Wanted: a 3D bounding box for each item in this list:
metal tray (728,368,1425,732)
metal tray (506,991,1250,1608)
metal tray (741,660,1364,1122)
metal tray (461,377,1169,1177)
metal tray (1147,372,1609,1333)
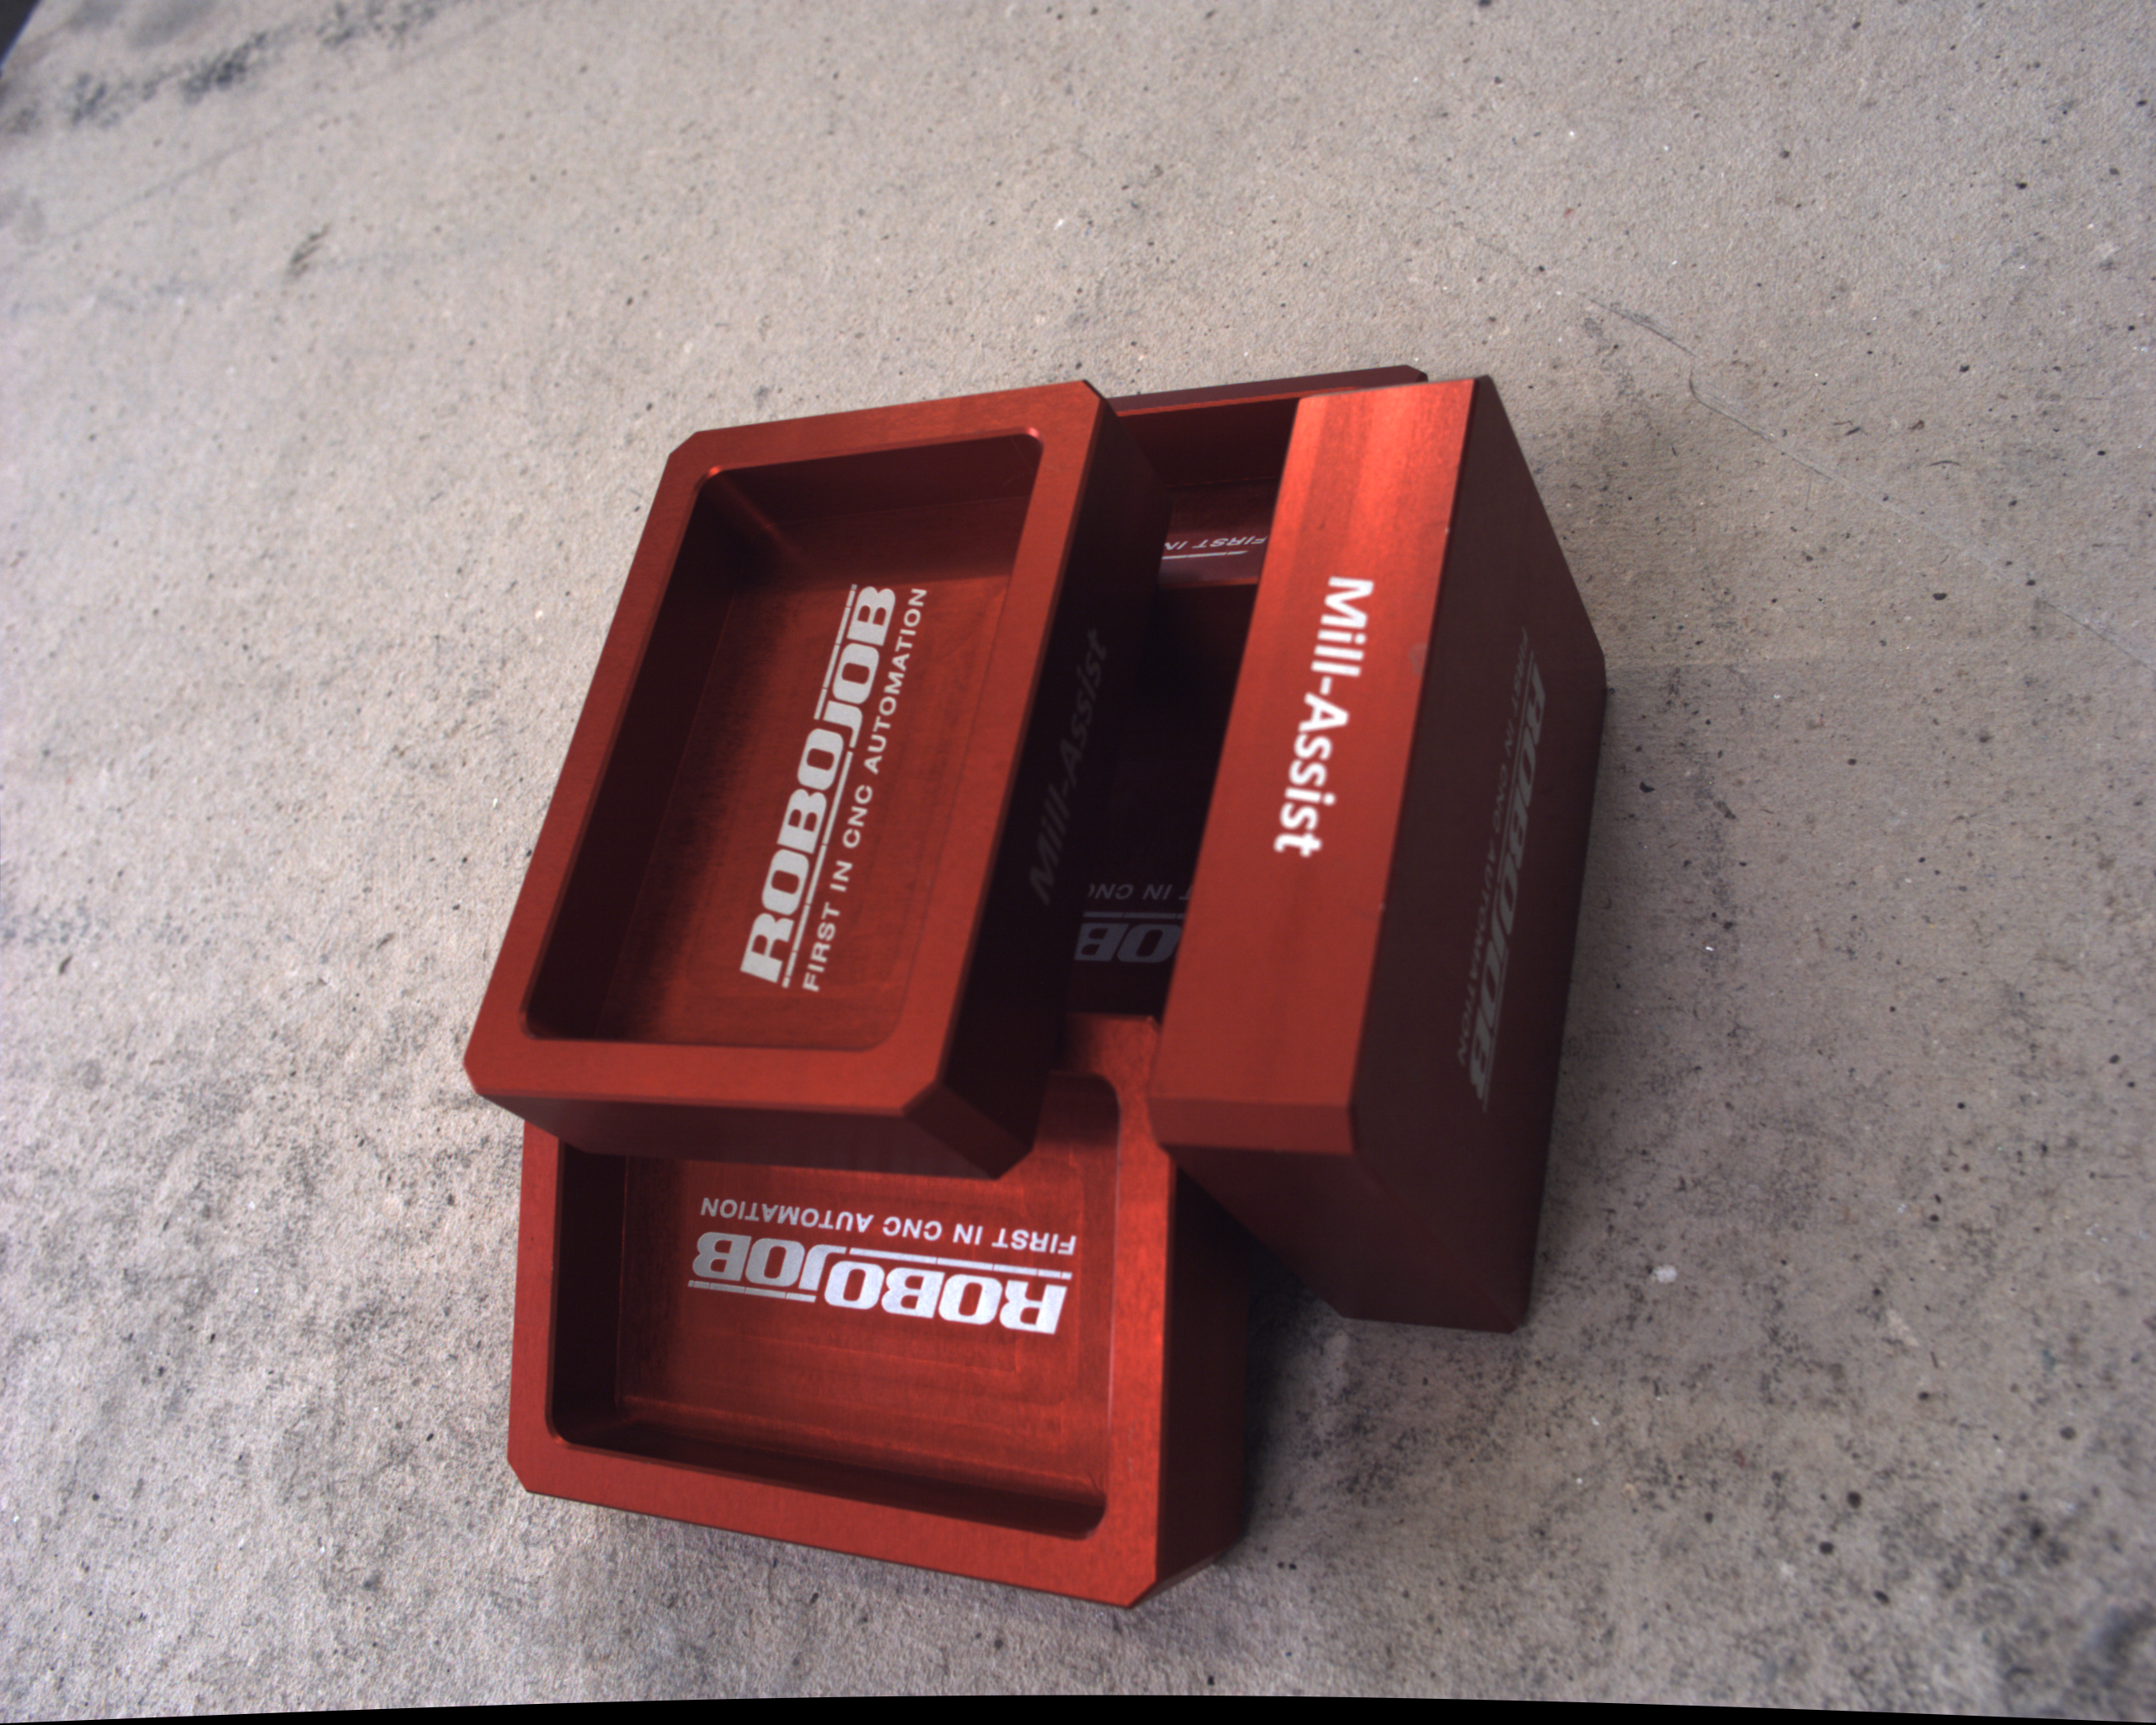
[{"bbox_3d":[-0.001,-0.061,0.418,0.130,0.030,0.090,0,35,28],"label":"metal tray"},{"bbox_3d":[-0.037,0.068,0.357,0.130,0.030,0.089,0,87,28],"label":"metal tray"},{"bbox_3d":[-0.006,0.008,0.398,0.130,0.030,0.090,-1,63,28],"label":"metal tray"},{"bbox_3d":[-0.042,-0.016,0.350,0.090,0.030,0.130,-1,63,28],"label":"metal tray"},{"bbox_3d":[0.054,0.000,0.335,0.030,0.090,0.130,-1,62,28],"label":"metal tray"}]
